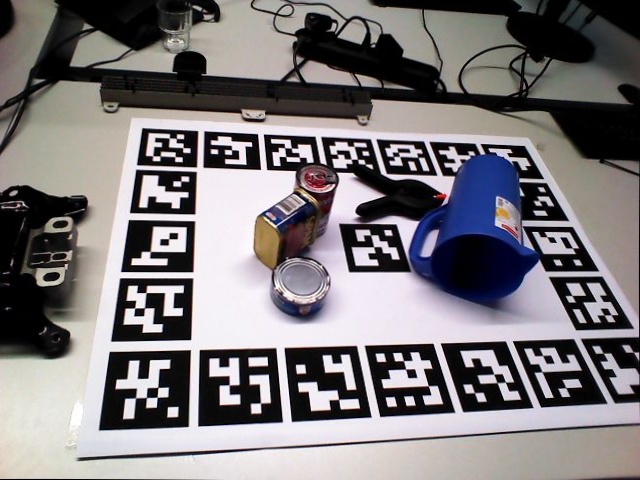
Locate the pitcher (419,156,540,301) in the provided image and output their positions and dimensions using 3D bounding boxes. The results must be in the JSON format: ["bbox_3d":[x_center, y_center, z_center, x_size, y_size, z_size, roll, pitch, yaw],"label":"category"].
[{"bbox_3d":[0.263,-0.030,0.826,0.190,0.133,0.241,1,38,19],"label":"pitcher"}]

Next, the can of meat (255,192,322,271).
[{"bbox_3d":[-0.048,-0.010,0.769,0.083,0.102,0.058,-34,64,-28],"label":"can of meat"}]

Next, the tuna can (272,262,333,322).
[{"bbox_3d":[-0.026,0.075,0.749,0.086,0.034,0.085,5,51,-7],"label":"tuna can"}]

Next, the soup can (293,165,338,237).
[{"bbox_3d":[-0.011,-0.059,0.824,0.068,0.102,0.067,4,51,-5],"label":"soup can"}]

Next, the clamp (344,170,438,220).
[{"bbox_3d":[0.129,-0.076,0.921,0.165,0.037,0.121,4,45,-12],"label":"clamp"}]
